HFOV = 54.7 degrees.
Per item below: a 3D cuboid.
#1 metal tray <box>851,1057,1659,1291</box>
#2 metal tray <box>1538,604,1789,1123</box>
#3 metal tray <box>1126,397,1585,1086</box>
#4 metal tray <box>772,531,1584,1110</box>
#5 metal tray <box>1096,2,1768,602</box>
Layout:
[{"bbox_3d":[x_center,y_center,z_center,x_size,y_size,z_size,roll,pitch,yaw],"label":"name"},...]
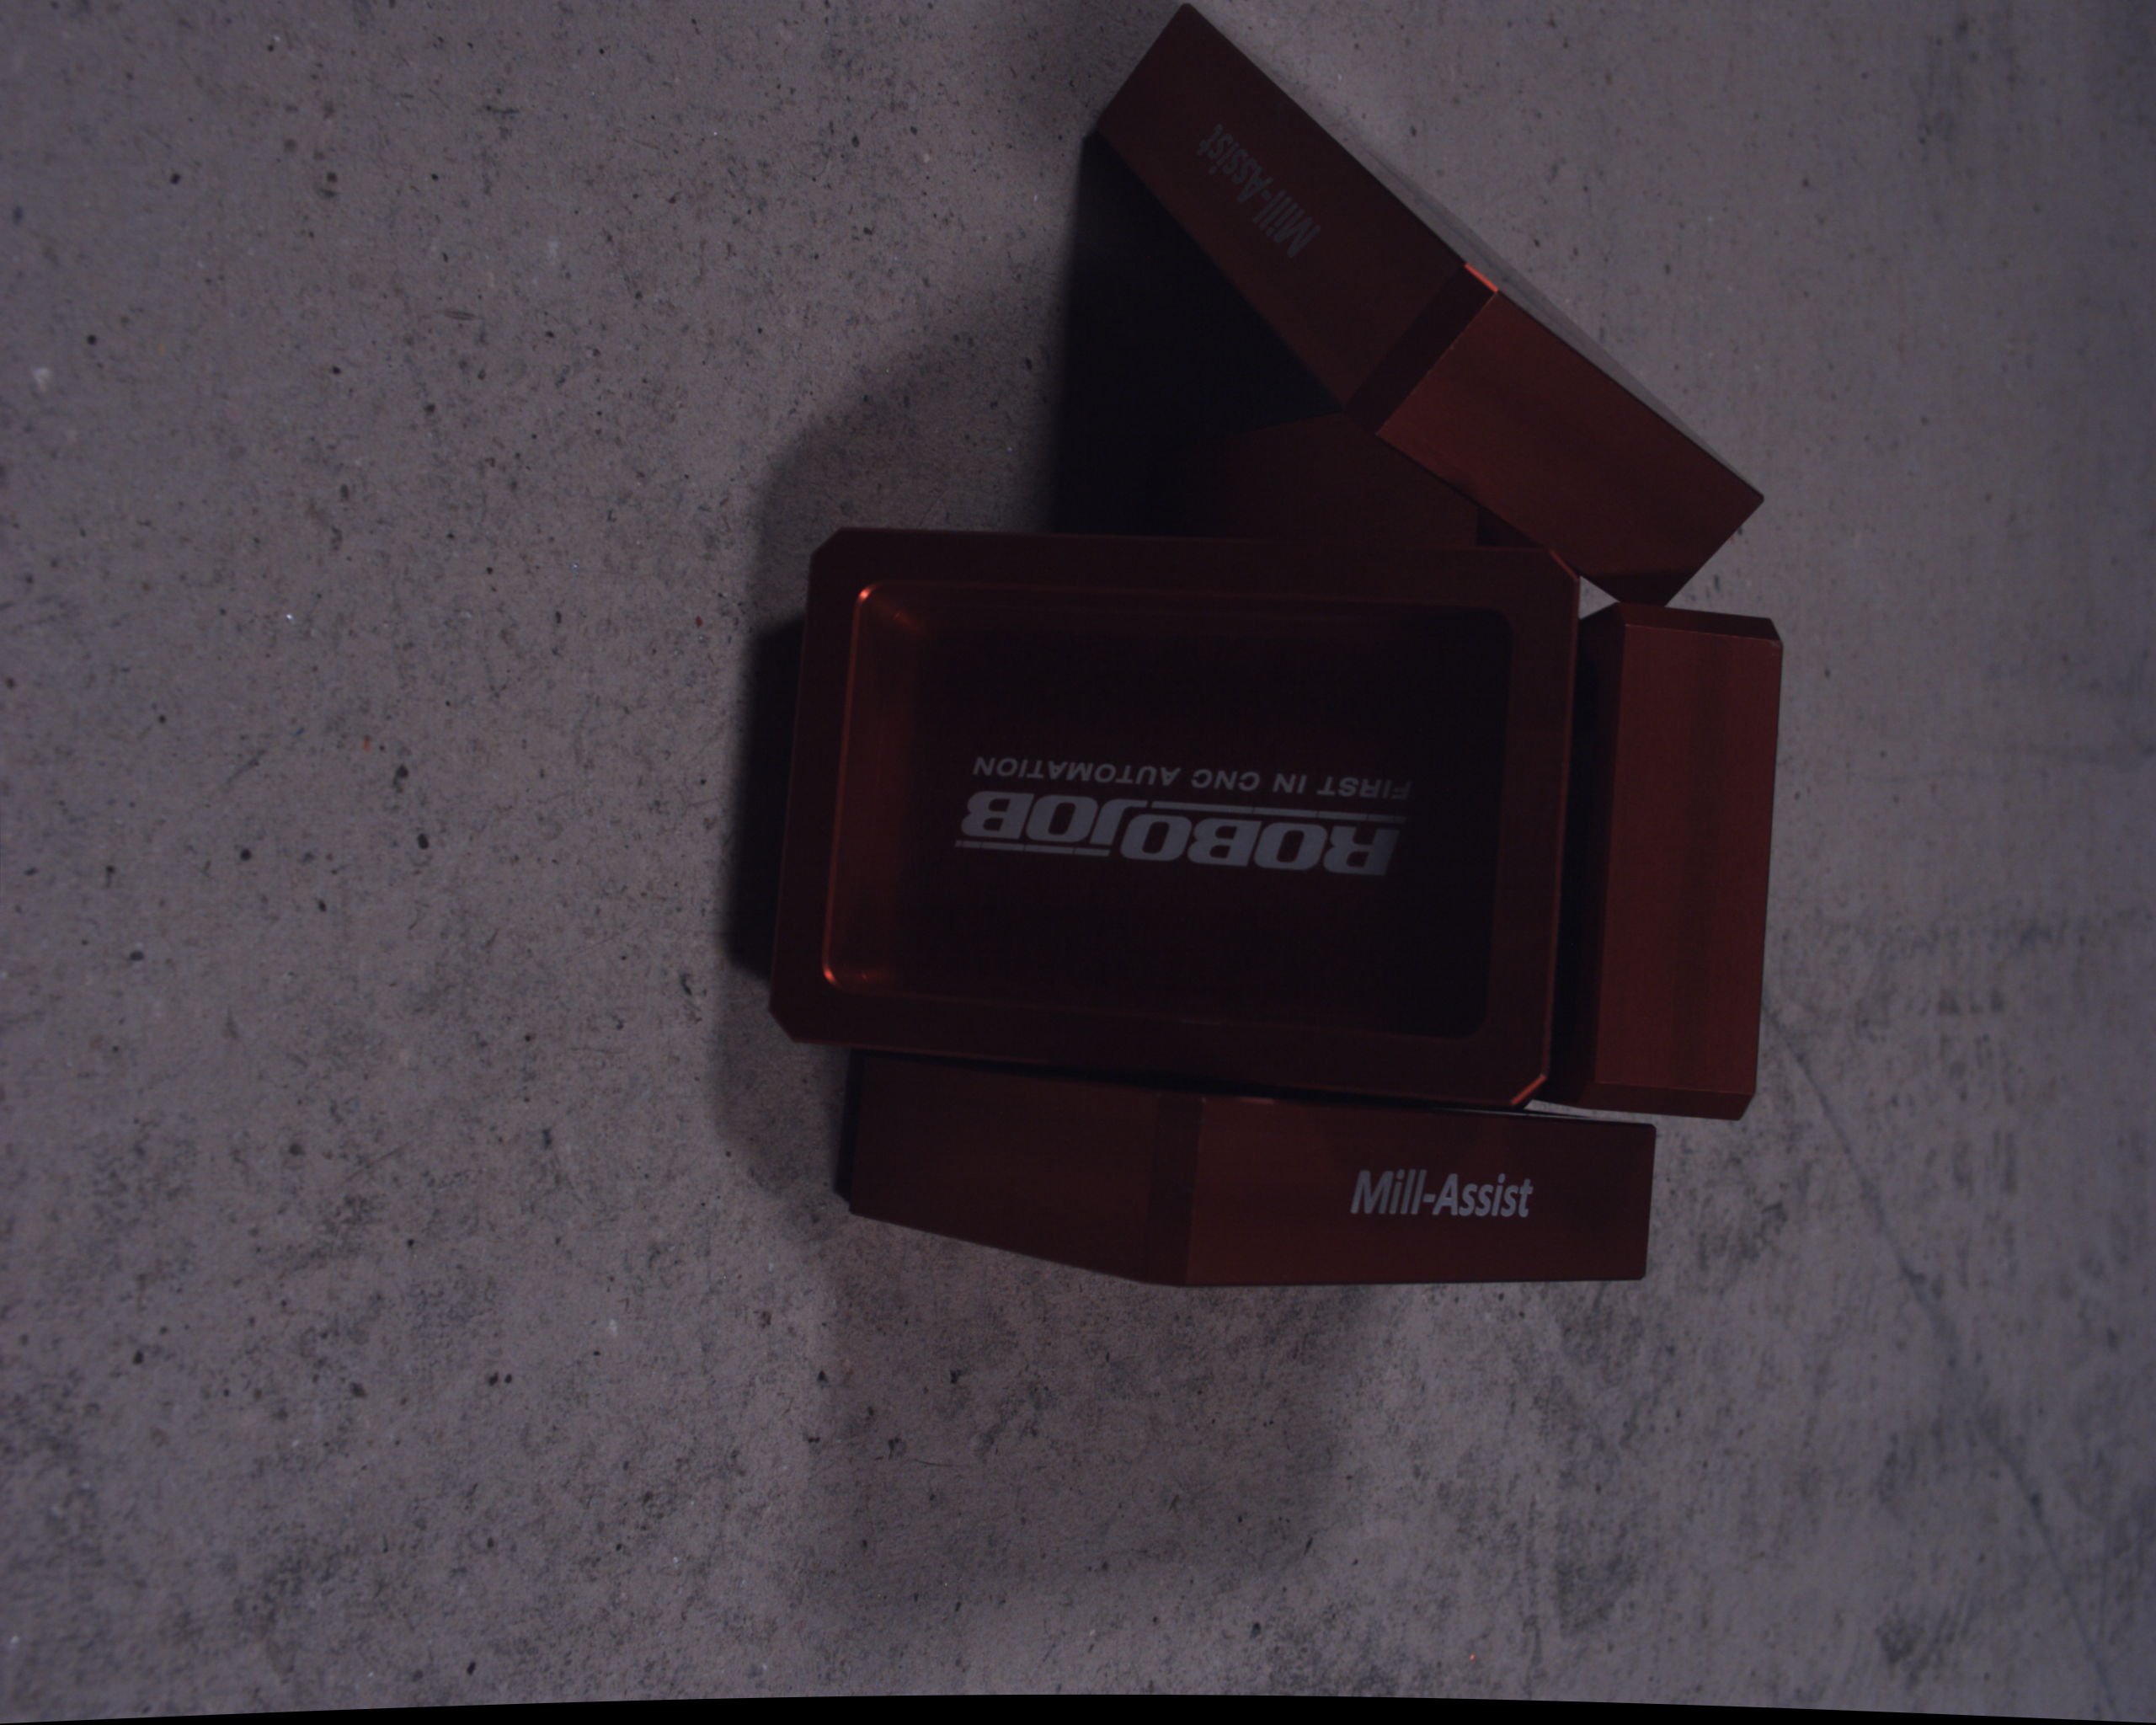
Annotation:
[{"bbox_3d":[0.035,0.058,0.395,0.131,0.090,0.030,9,85,-40],"label":"metal tray"},{"bbox_3d":[0.099,0.003,0.427,0.030,0.130,0.089,6,86,-7],"label":"metal tray"},{"bbox_3d":[0.051,-0.021,0.408,0.030,0.090,0.129,10,84,-40],"label":"metal tray"},{"bbox_3d":[0.017,-0.008,0.359,0.030,0.131,0.089,21,73,-76],"label":"metal tray"},{"bbox_3d":[0.065,-0.109,0.403,0.090,0.130,0.030,22,117,-38],"label":"metal tray"}]
